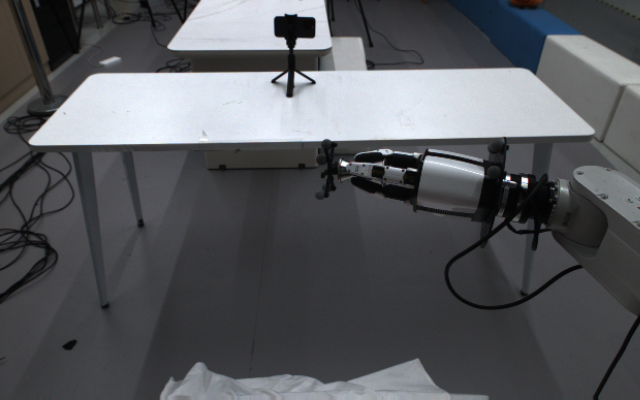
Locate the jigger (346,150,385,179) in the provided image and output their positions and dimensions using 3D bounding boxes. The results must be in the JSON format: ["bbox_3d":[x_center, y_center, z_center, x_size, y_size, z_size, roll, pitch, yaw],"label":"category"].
[{"bbox_3d":[0.070,-0.047,0.728,0.071,0.043,0.043,4,34,15],"label":"jigger"}]
